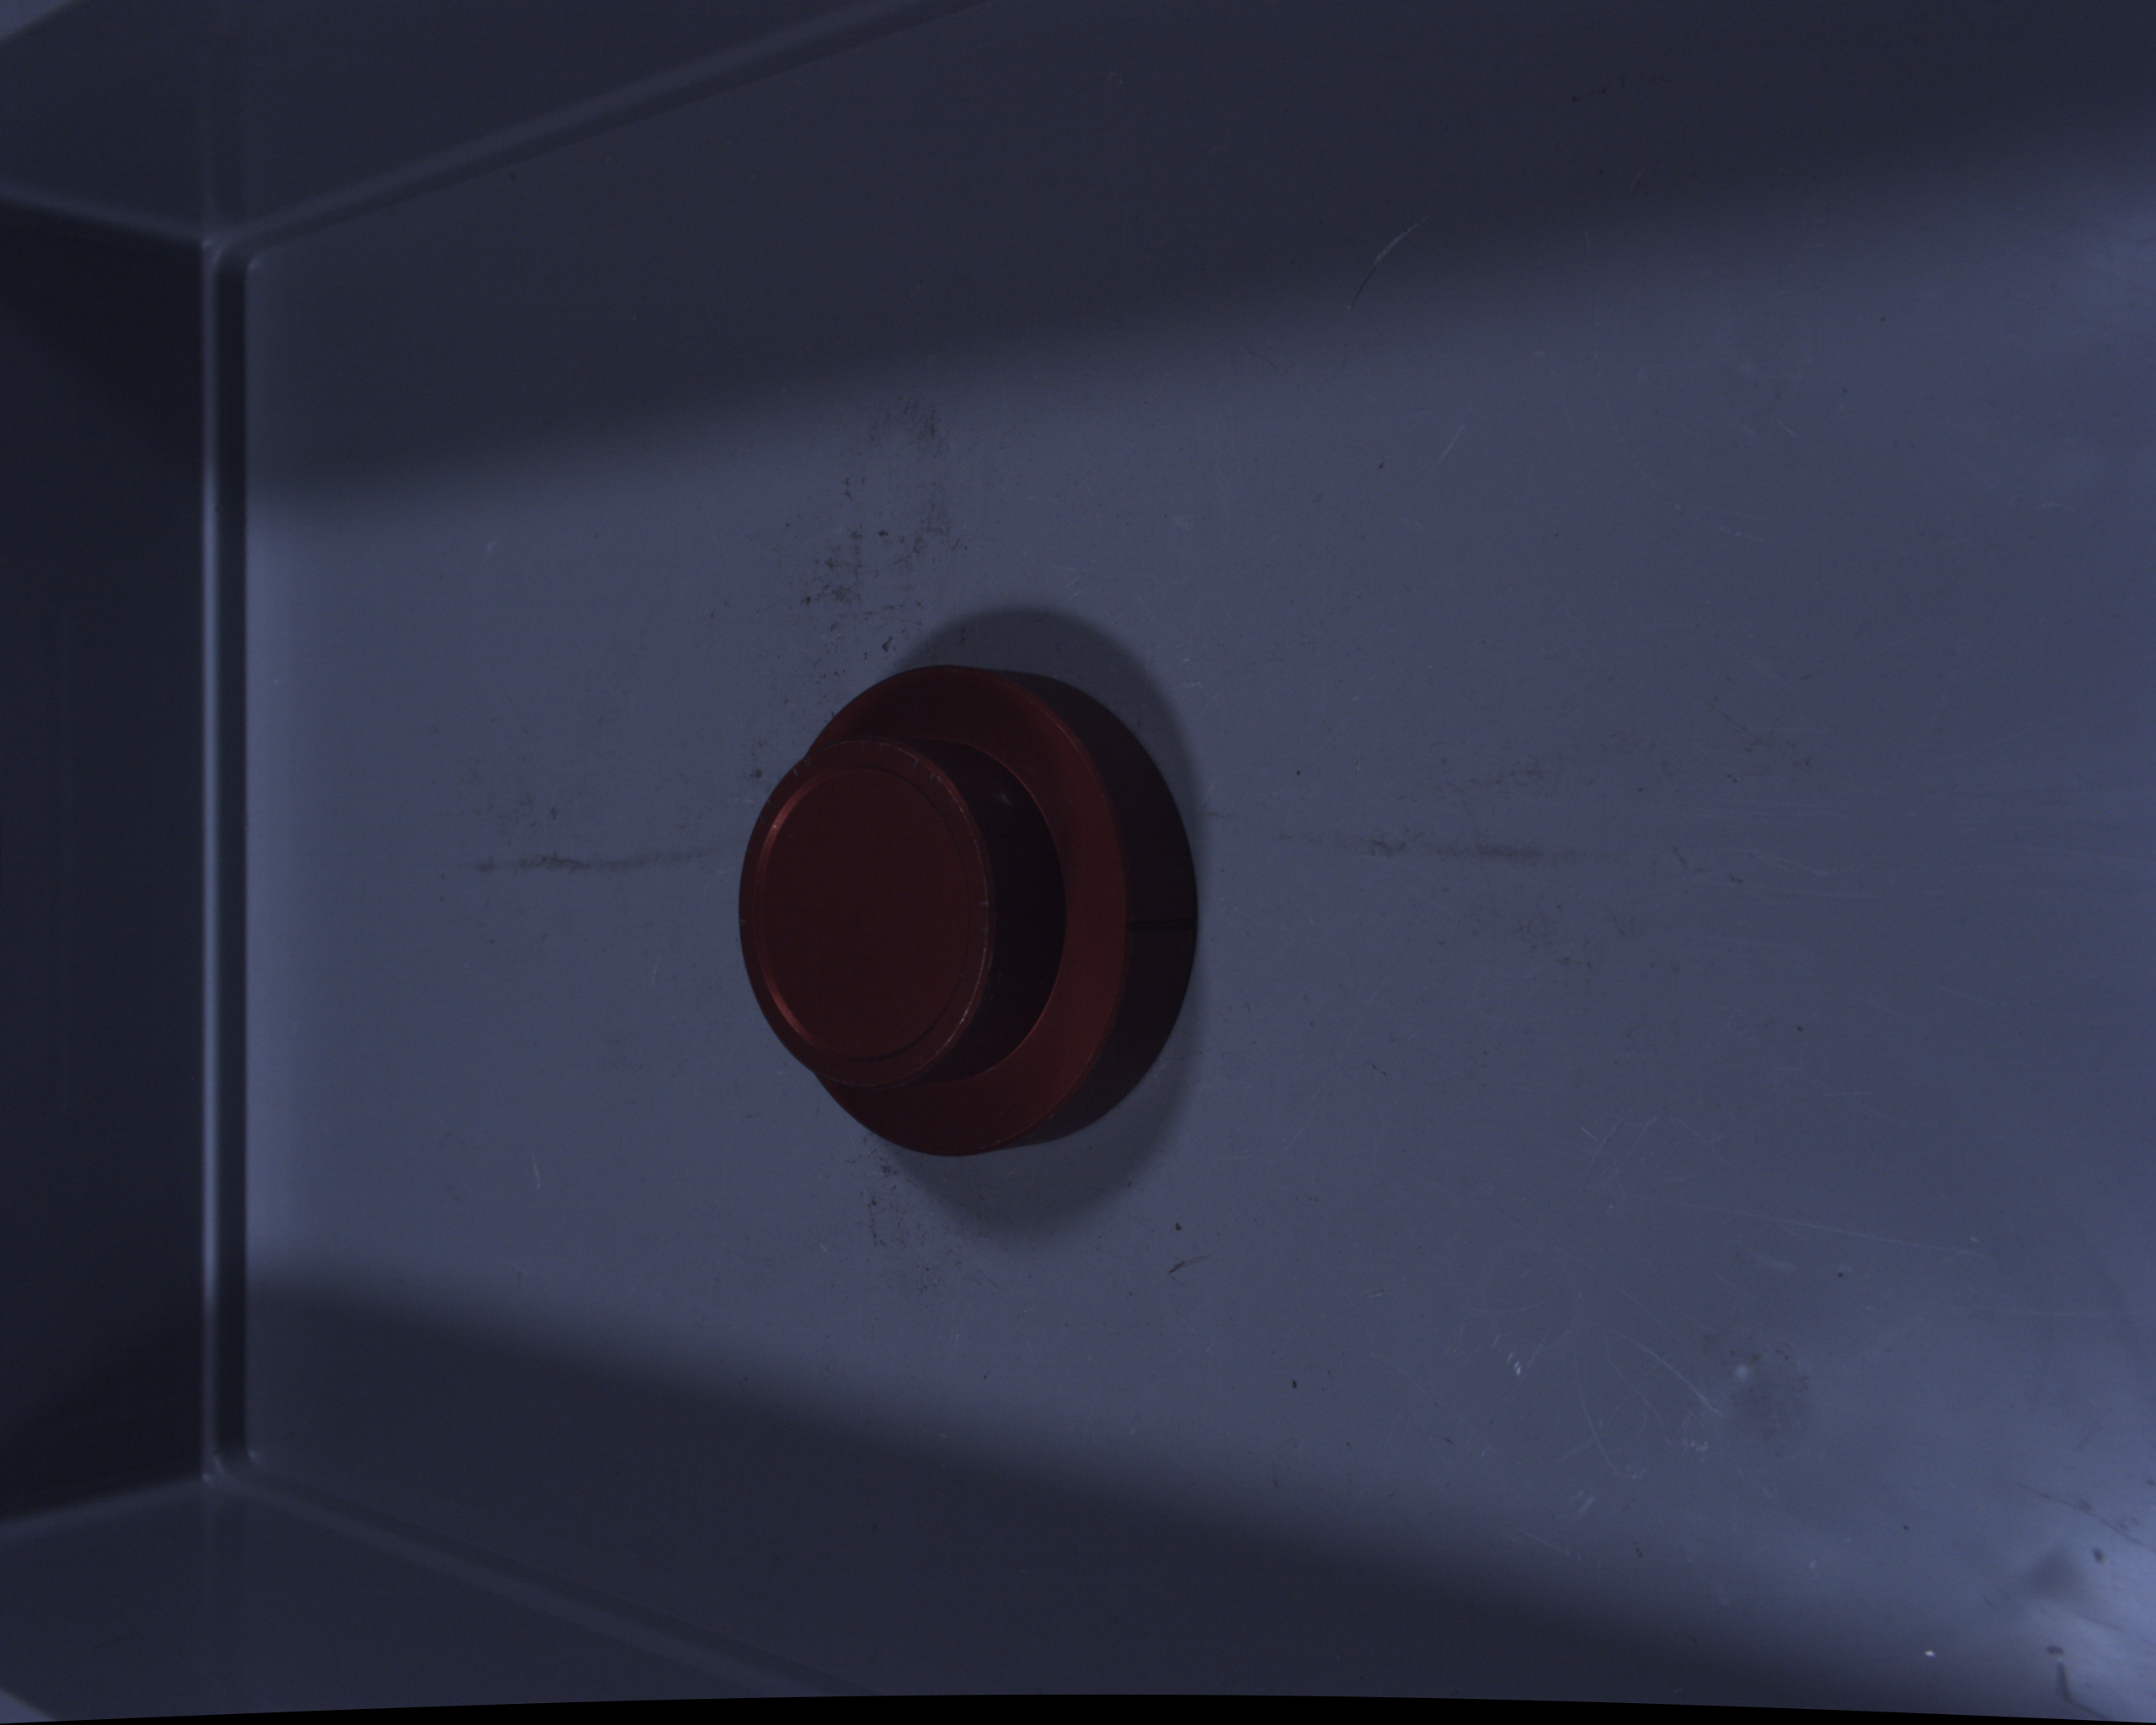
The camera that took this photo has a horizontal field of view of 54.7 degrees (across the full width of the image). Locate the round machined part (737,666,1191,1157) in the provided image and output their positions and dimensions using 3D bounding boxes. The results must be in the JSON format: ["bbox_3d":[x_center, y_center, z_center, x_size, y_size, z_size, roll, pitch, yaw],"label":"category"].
[{"bbox_3d":[-0.029,0.010,0.413,0.098,0.042,0.097,0,90,39],"label":"round machined part"}]
